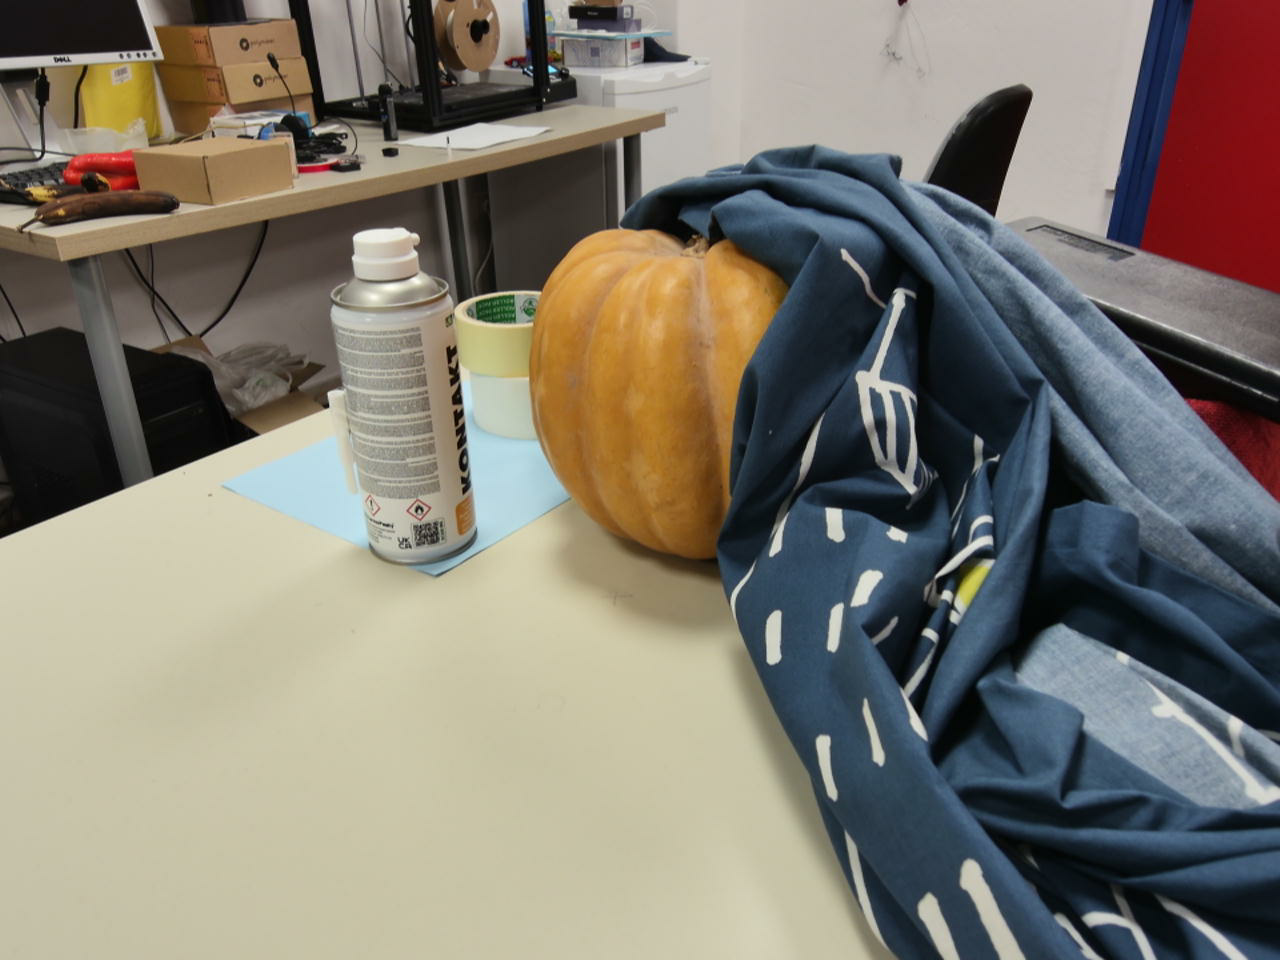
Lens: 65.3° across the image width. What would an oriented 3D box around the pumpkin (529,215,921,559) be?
[{"bbox_3d":[0.048,-0.057,0.585,0.230,0.194,0.230,1,25,0],"label":"pumpkin"}]
